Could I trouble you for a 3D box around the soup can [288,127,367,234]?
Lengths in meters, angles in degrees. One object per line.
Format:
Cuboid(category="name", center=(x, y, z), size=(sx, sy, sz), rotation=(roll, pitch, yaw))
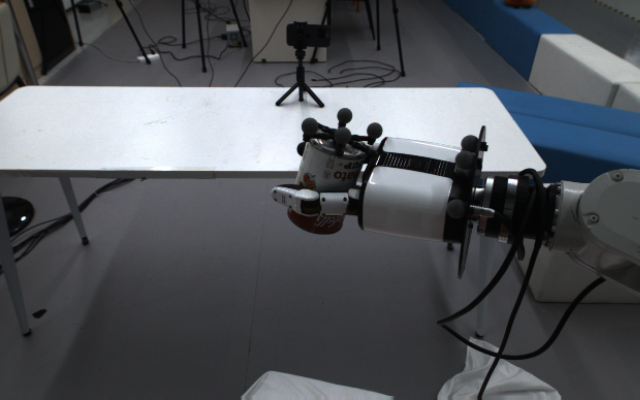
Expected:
Cuboid(category="soup can", center=(0.009, -0.021, 0.544), size=(0.067, 0.101, 0.067), rotation=(13, 30, -8))
